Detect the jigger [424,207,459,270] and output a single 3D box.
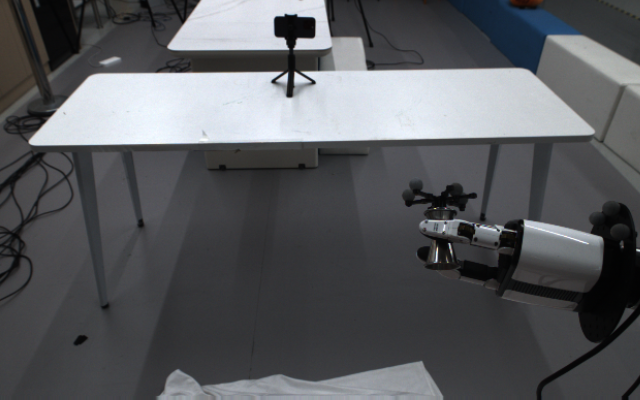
[{"bbox_3d":[0.146,0.046,0.587,0.043,0.043,0.071,3,72,1],"label":"jigger"}]
